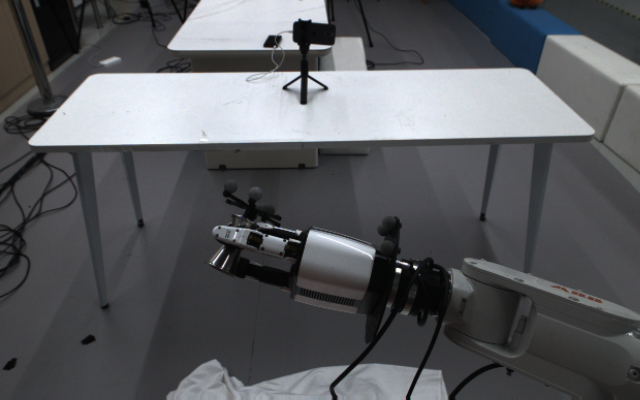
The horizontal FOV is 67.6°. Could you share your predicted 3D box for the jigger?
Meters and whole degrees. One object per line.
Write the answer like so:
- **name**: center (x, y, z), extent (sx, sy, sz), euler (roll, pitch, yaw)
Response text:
- **jigger**: center (-0.107, 0.054, 0.593), extent (0.043, 0.043, 0.071), euler (20, 72, 24)
